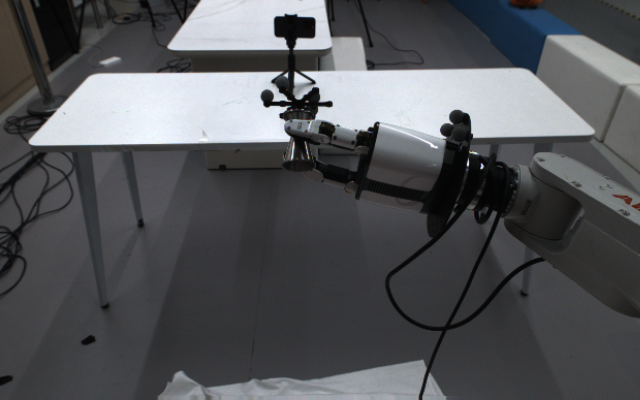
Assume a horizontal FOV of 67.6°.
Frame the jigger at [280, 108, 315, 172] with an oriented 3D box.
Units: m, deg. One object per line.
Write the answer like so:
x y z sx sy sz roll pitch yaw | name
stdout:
-0.026 -0.076 0.607 0.043 0.043 0.071 0 75 -3 | jigger
